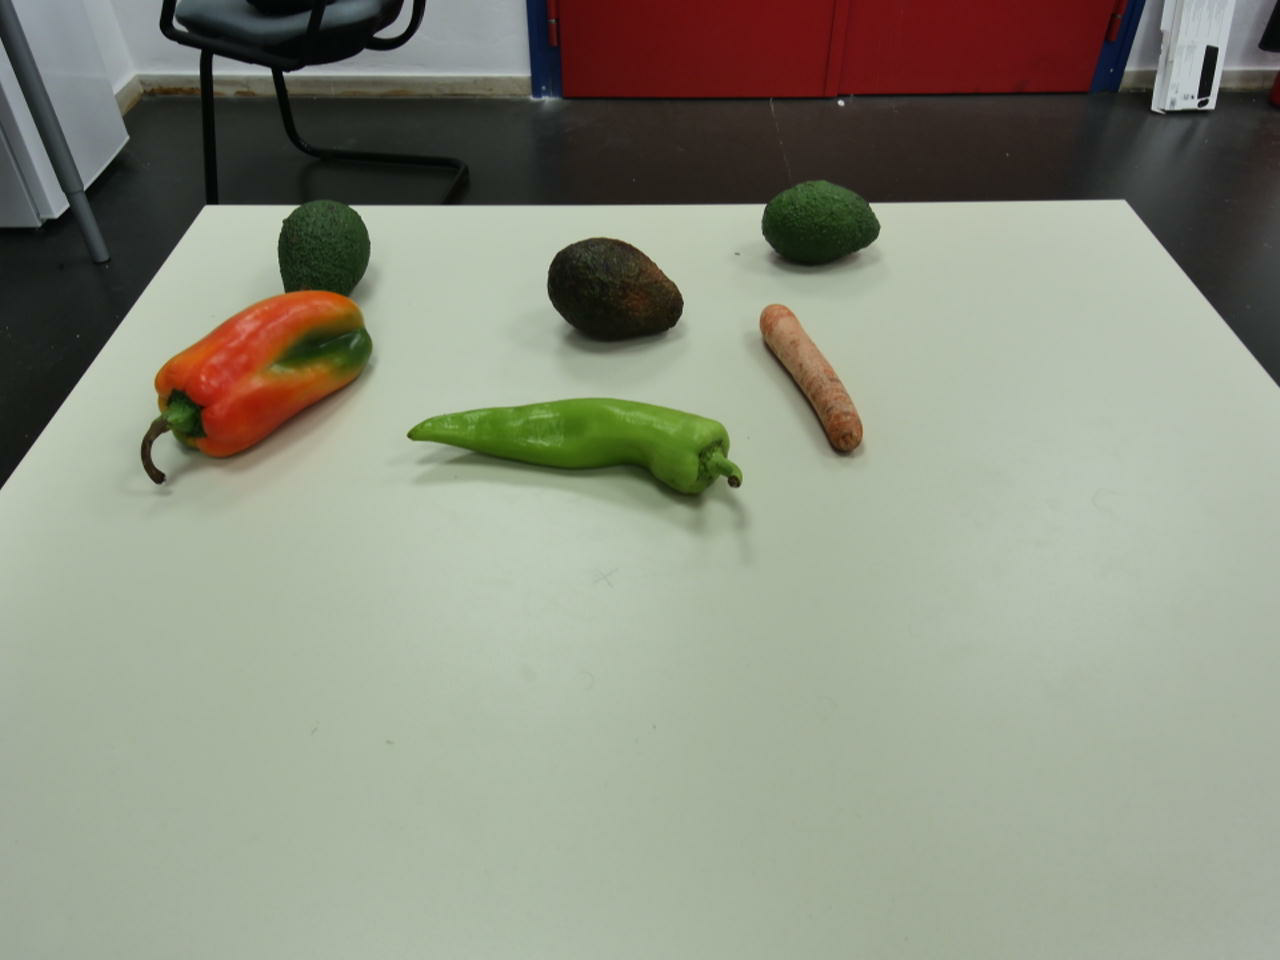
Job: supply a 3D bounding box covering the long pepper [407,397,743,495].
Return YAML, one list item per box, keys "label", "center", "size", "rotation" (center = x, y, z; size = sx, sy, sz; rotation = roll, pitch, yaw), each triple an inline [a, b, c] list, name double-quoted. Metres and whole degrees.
- label: "long pepper"
  center: [-0.034, -0.026, 0.595]
  size: [0.205, 0.045, 0.065]
  rotation: [11, 40, 12]
